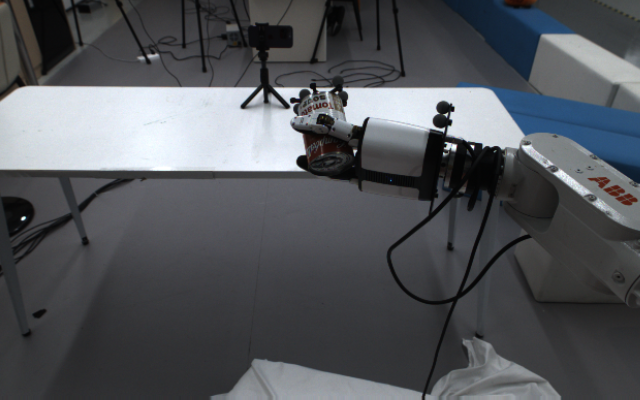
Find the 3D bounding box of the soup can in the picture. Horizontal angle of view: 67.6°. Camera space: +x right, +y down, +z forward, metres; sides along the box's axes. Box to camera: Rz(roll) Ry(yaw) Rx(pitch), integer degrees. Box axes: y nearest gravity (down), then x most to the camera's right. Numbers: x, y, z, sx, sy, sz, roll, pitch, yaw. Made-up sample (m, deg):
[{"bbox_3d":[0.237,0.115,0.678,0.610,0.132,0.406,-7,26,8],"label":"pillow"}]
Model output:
[{"bbox_3d":[0.009,-0.093,0.691,0.067,0.067,0.101,-6,67,-12],"label":"soup can"}]
